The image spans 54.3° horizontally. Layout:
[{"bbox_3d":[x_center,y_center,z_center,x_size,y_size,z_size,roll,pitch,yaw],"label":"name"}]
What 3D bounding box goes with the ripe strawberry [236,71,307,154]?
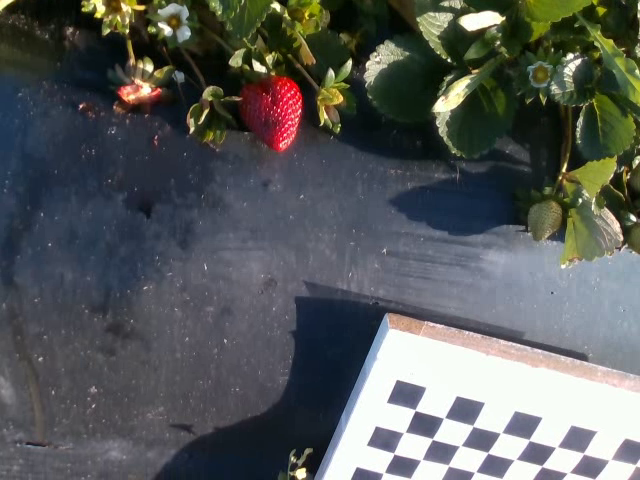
[{"bbox_3d":[-0.031,-0.079,0.403,0.052,0.052,0.041,-13,-32,6],"label":"ripe strawberry"}]
